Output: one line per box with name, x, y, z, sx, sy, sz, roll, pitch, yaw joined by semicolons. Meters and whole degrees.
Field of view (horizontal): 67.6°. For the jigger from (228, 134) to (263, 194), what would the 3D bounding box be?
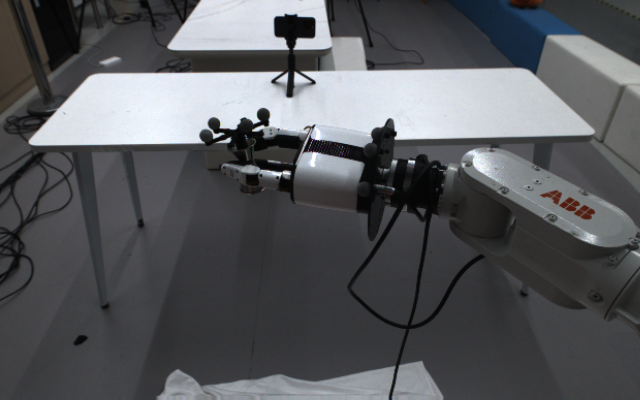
jigger;-0.098;-0.047;0.667;0.043;0.071;0.043;-10;32;6
